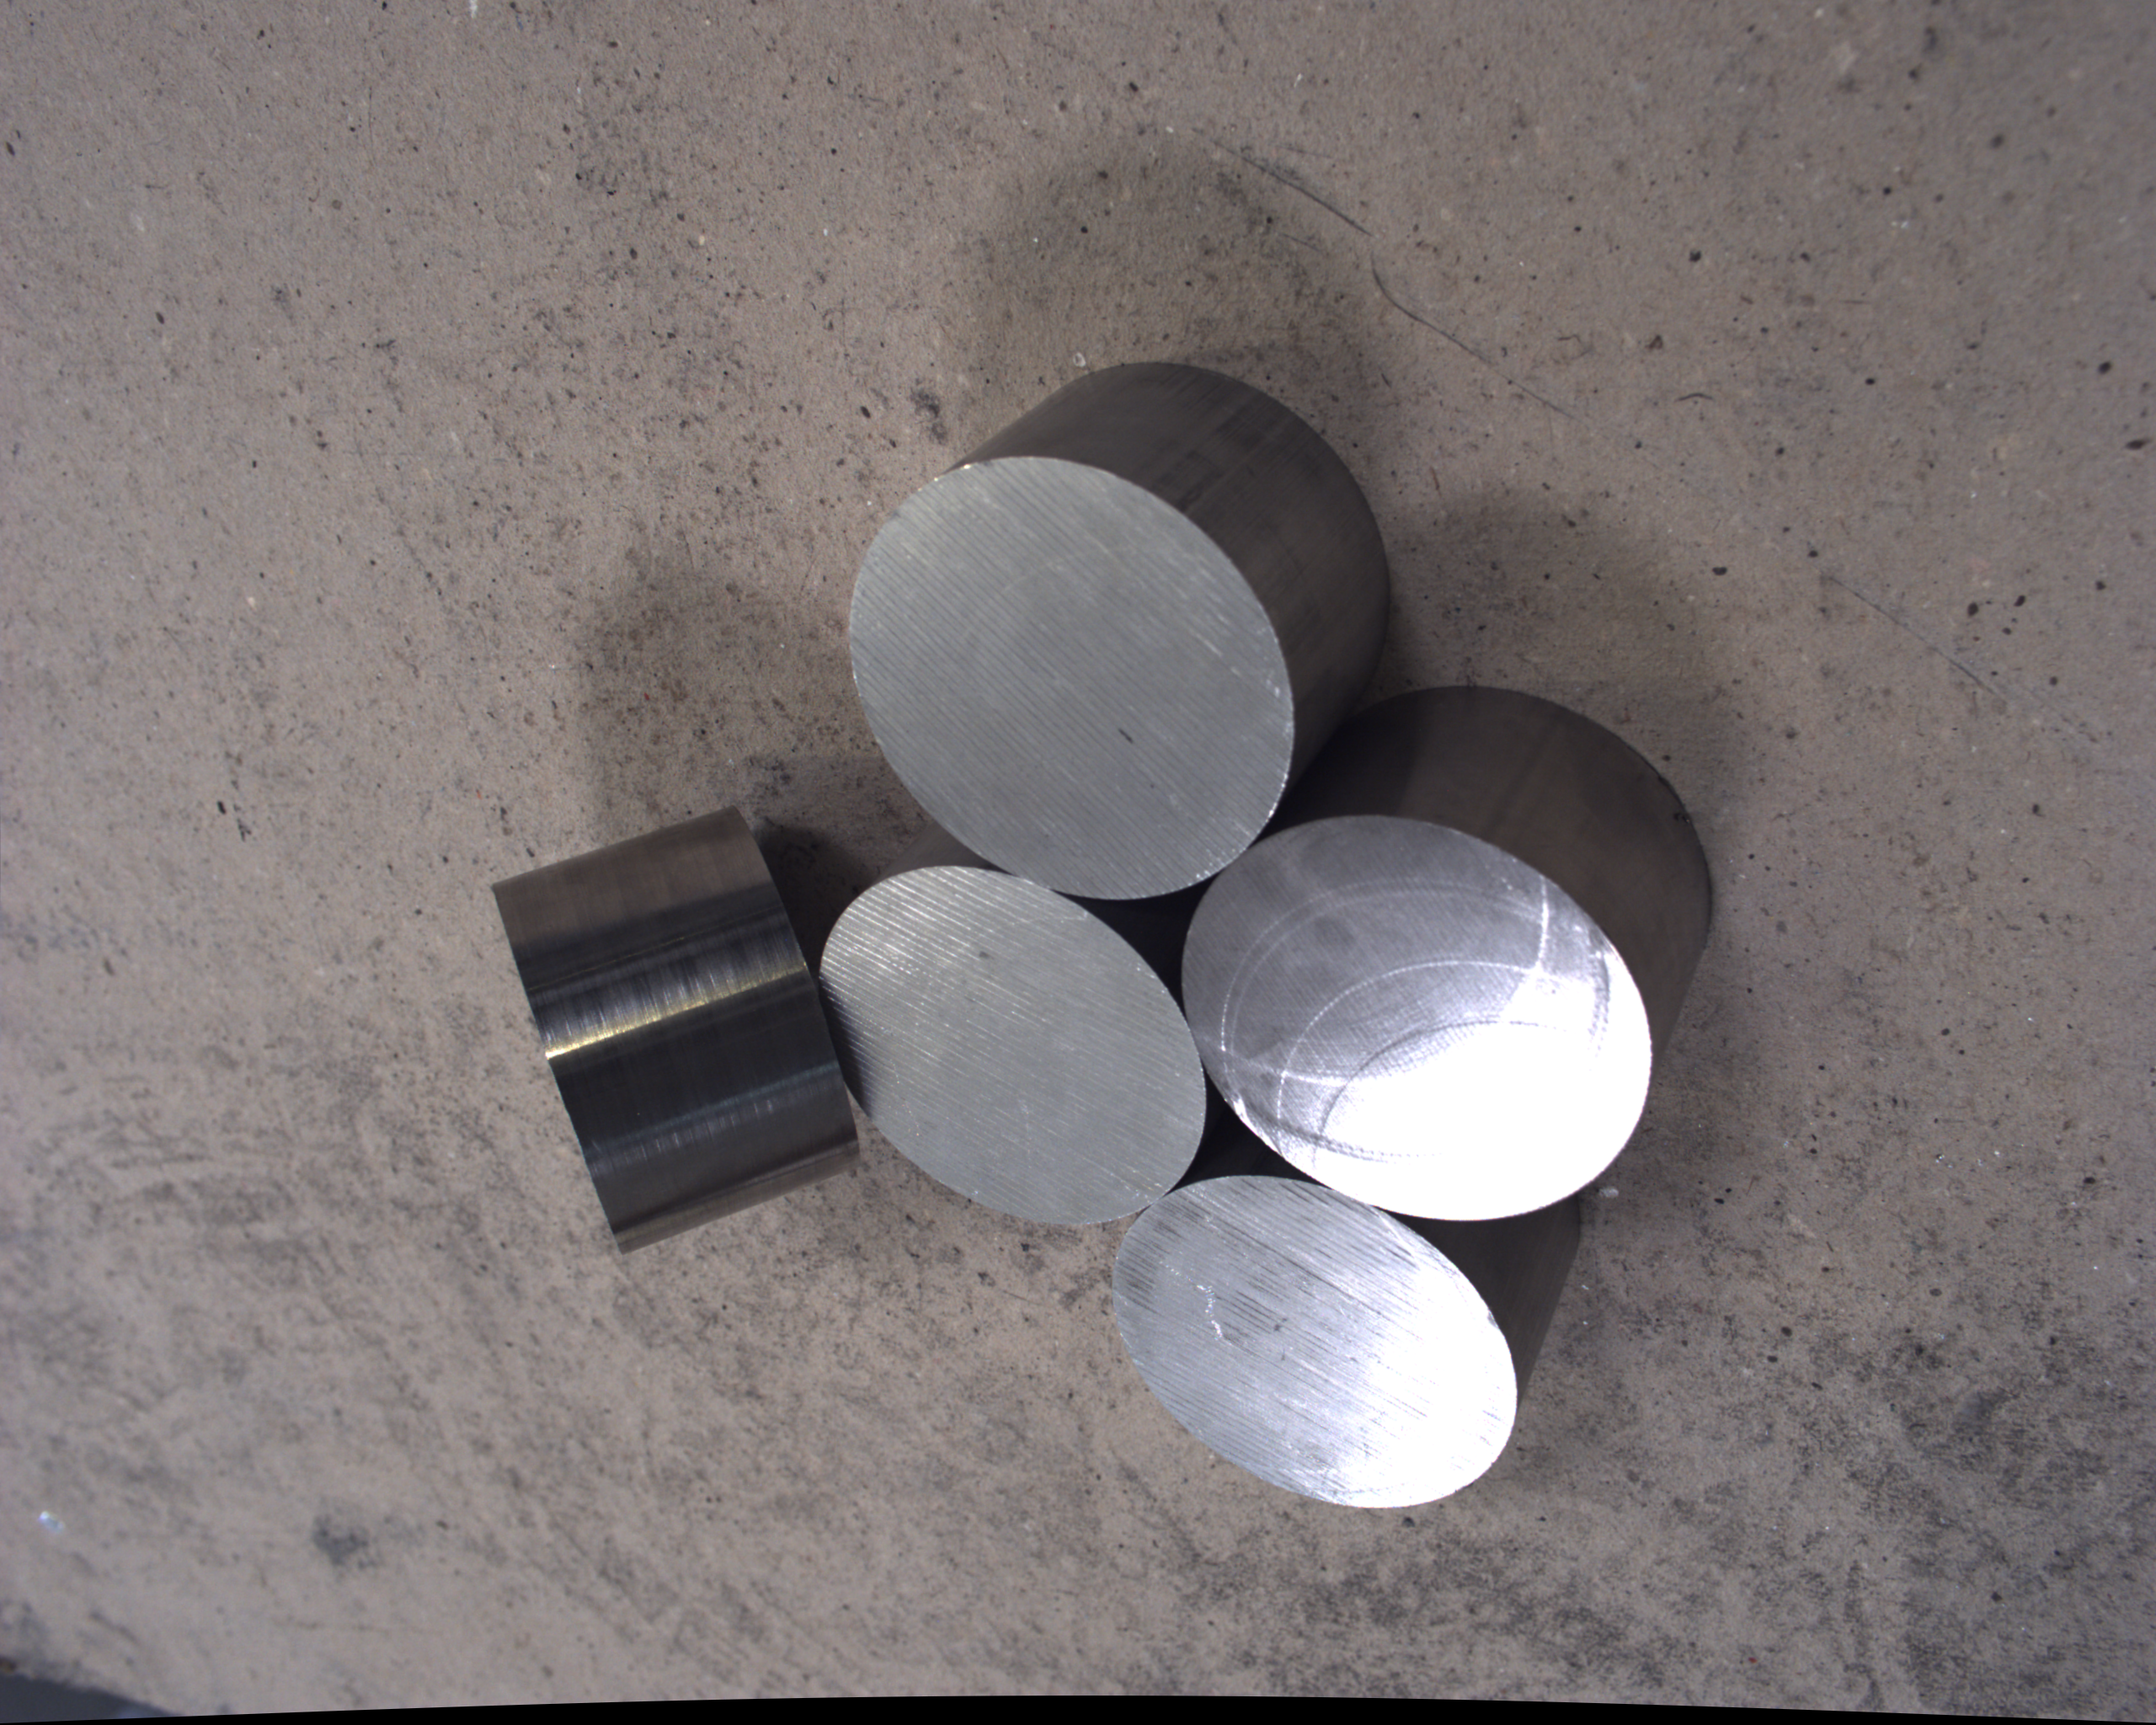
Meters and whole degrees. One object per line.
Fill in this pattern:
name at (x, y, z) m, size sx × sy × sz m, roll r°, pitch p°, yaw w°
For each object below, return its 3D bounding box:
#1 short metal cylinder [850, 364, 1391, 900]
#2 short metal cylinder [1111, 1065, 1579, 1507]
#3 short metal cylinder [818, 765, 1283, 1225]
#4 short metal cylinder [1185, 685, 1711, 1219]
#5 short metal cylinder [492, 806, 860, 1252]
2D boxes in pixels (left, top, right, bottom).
short metal cylinder at (0.008, -0.040, 0.363) m, size 0.080 × 0.050 × 0.079 m, roll 13°, pitch 124°, yaw 21°
short metal cylinder at (0.054, 0.079, 0.413) m, size 0.080 × 0.050 × 0.079 m, roll 13°, pitch 124°, yaw 21°
short metal cylinder at (-0.003, 0.023, 0.408) m, size 0.080 × 0.050 × 0.079 m, roll 13°, pitch 124°, yaw 21°
short metal cylinder at (0.066, 0.015, 0.367) m, size 0.080 × 0.050 × 0.079 m, roll 13°, pitch 124°, yaw 21°
short metal cylinder at (-0.083, 0.034, 0.430) m, size 0.080 × 0.050 × 0.080 m, roll 161°, pitch 90°, yaw -76°
